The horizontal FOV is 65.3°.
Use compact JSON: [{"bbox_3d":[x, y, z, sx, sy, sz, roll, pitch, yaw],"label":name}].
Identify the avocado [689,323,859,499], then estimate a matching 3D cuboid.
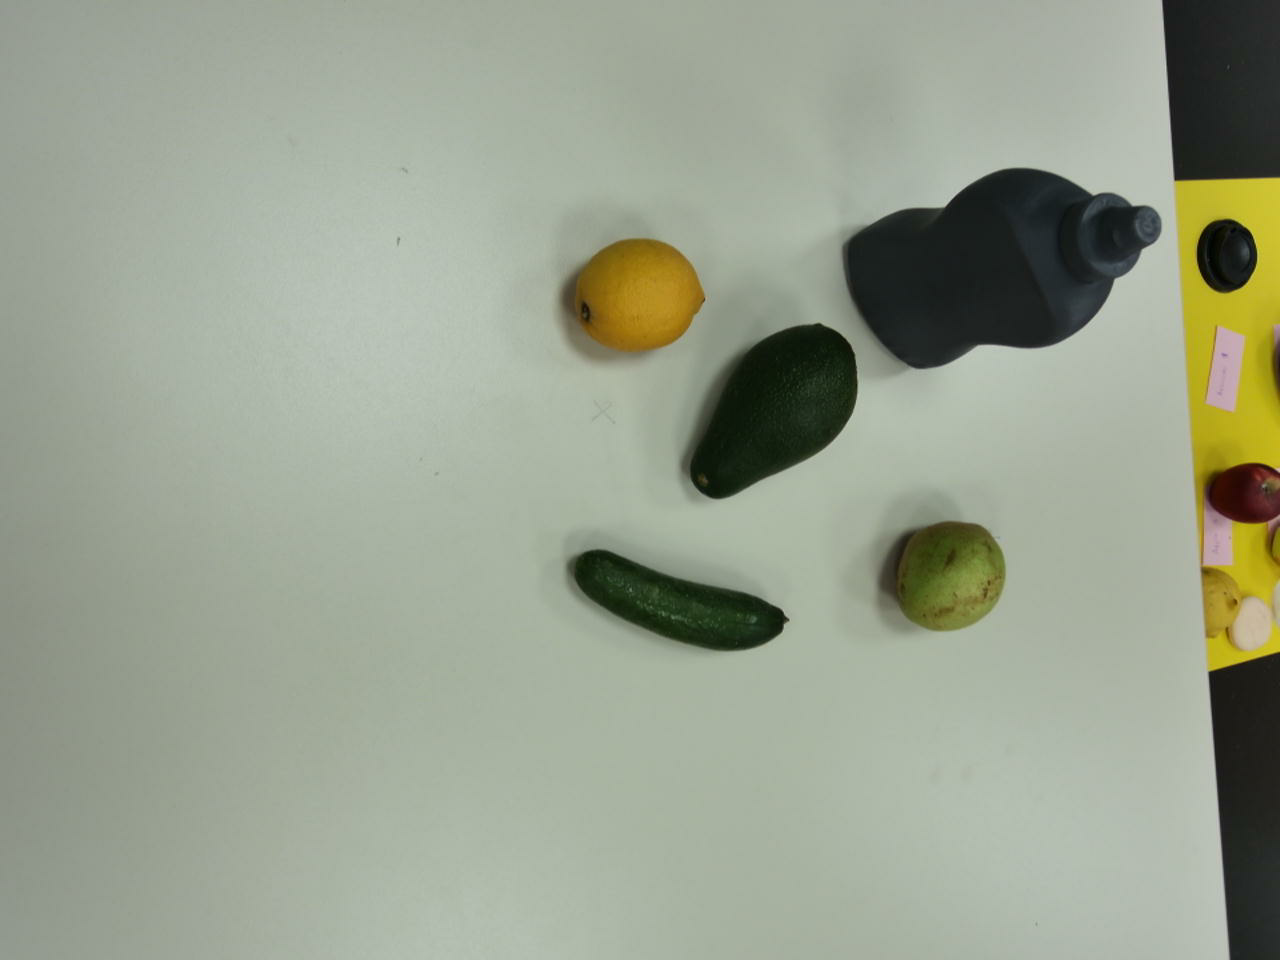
[{"bbox_3d":[0.074,-0.040,0.562,0.109,0.071,0.072,-29,101,-19],"label":"avocado"}]
